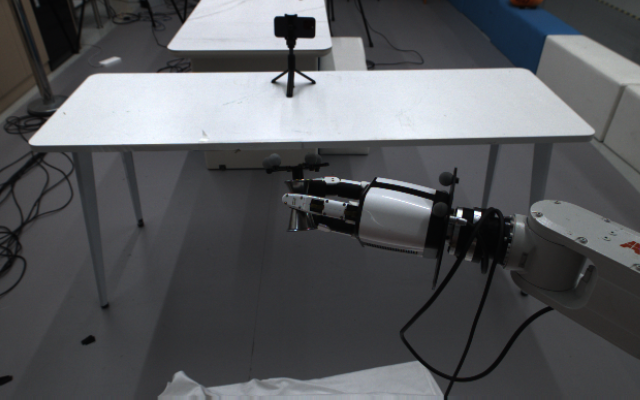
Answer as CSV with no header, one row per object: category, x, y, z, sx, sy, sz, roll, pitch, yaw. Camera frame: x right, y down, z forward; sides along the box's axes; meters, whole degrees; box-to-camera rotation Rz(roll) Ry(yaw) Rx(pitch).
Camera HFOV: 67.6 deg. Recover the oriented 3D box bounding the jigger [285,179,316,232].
jigger,-0.027,0.006,0.659,0.043,0.071,0.043,-4,1,0
